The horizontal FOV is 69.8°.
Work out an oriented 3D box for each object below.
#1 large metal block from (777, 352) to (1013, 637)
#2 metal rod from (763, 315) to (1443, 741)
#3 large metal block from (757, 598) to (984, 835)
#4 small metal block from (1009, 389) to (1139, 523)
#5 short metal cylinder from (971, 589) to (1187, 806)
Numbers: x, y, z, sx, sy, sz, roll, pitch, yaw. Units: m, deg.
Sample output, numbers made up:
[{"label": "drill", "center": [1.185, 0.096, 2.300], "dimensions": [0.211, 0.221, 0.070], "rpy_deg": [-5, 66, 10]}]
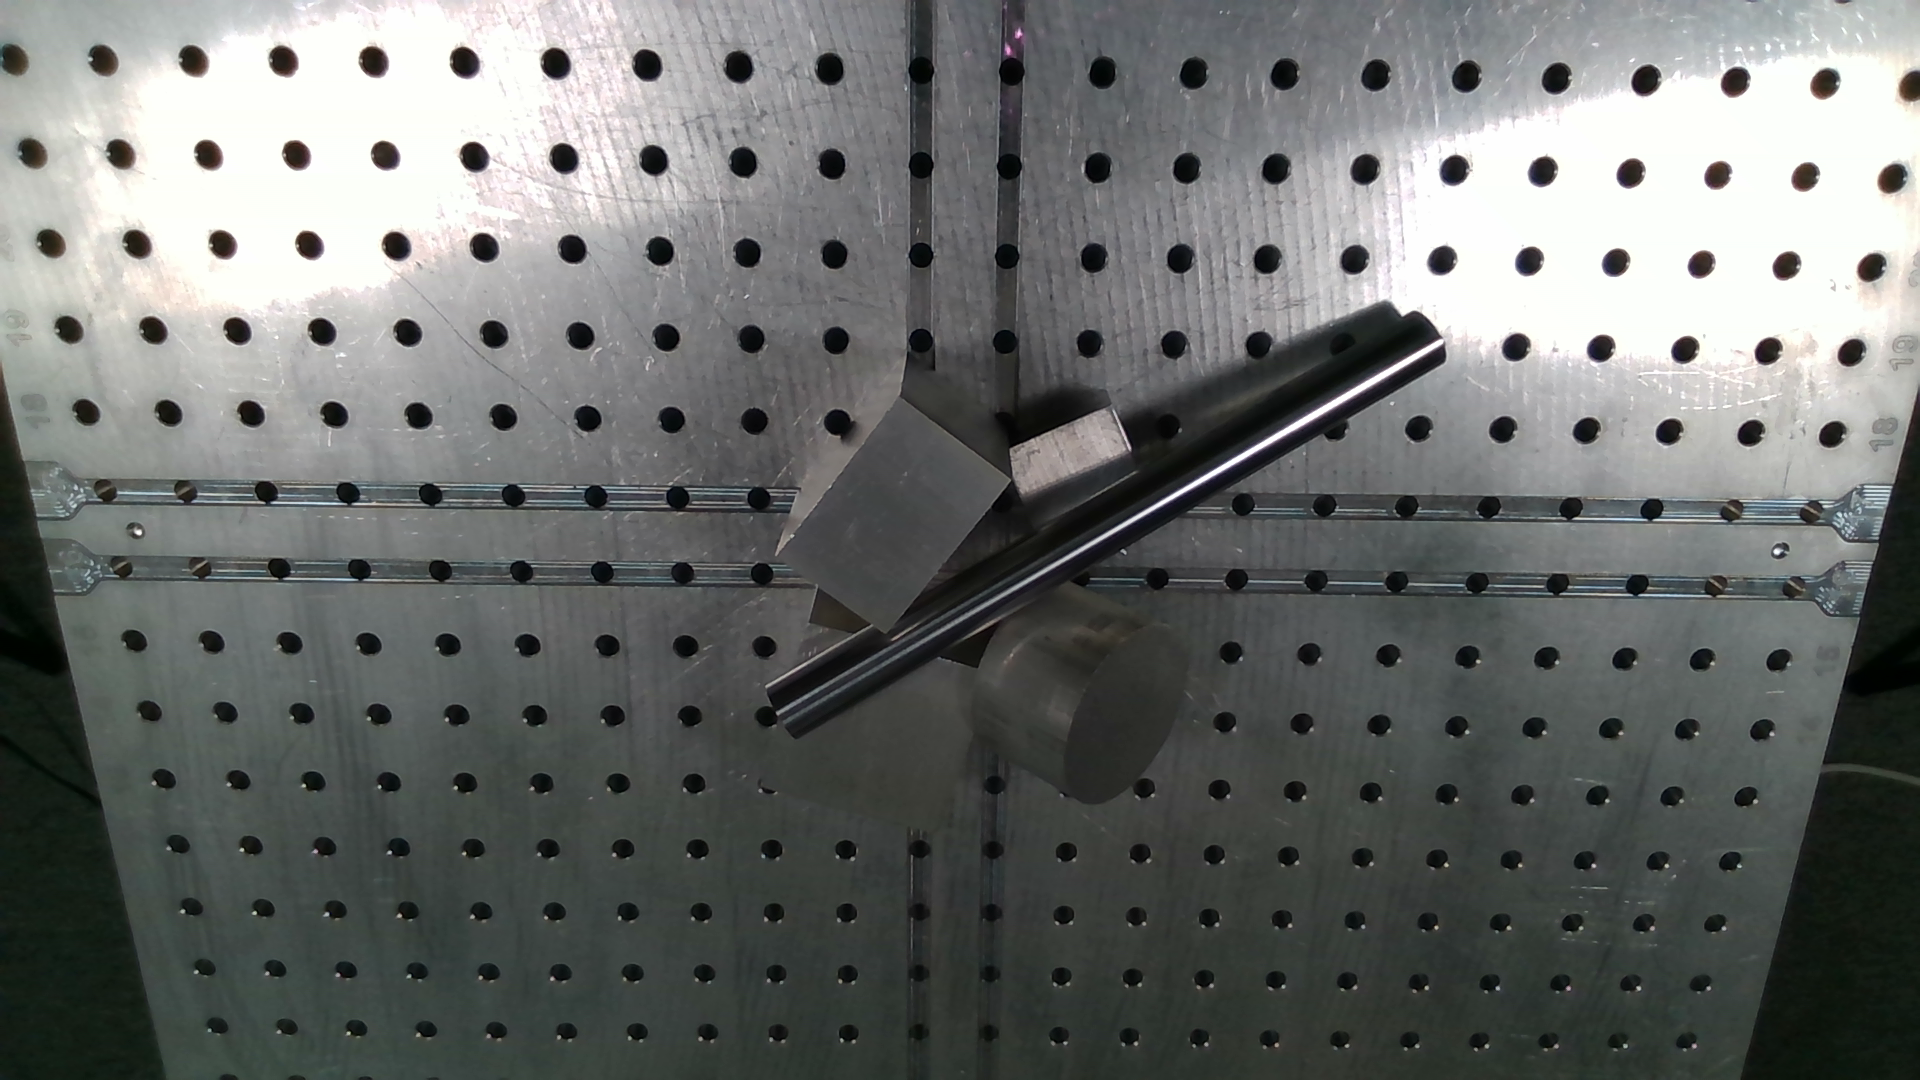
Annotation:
[{"label": "large metal block", "center": [-0.025, -0.020, 0.550], "dimensions": [0.050, 0.080, 0.080], "rpy_deg": [35, 106, -12]}, {"label": "metal rod", "center": [0.058, -0.006, 0.553], "dimensions": [0.300, 0.025, 0.025], "rpy_deg": [-30, 108, -2]}, {"label": "large metal block", "center": [-0.036, 0.072, 0.600], "dimensions": [0.080, 0.050, 0.080], "rpy_deg": [16, 109, -6]}, {"label": "small metal block", "center": [0.049, -0.028, 0.577], "dimensions": [0.050, 0.025, 0.050], "rpy_deg": [-23, 109, 8]}, {"label": "short metal cylinder", "center": [0.050, 0.063, 0.574], "dimensions": [0.050, 0.080, 0.080], "rpy_deg": [25, 116, 38]}]
